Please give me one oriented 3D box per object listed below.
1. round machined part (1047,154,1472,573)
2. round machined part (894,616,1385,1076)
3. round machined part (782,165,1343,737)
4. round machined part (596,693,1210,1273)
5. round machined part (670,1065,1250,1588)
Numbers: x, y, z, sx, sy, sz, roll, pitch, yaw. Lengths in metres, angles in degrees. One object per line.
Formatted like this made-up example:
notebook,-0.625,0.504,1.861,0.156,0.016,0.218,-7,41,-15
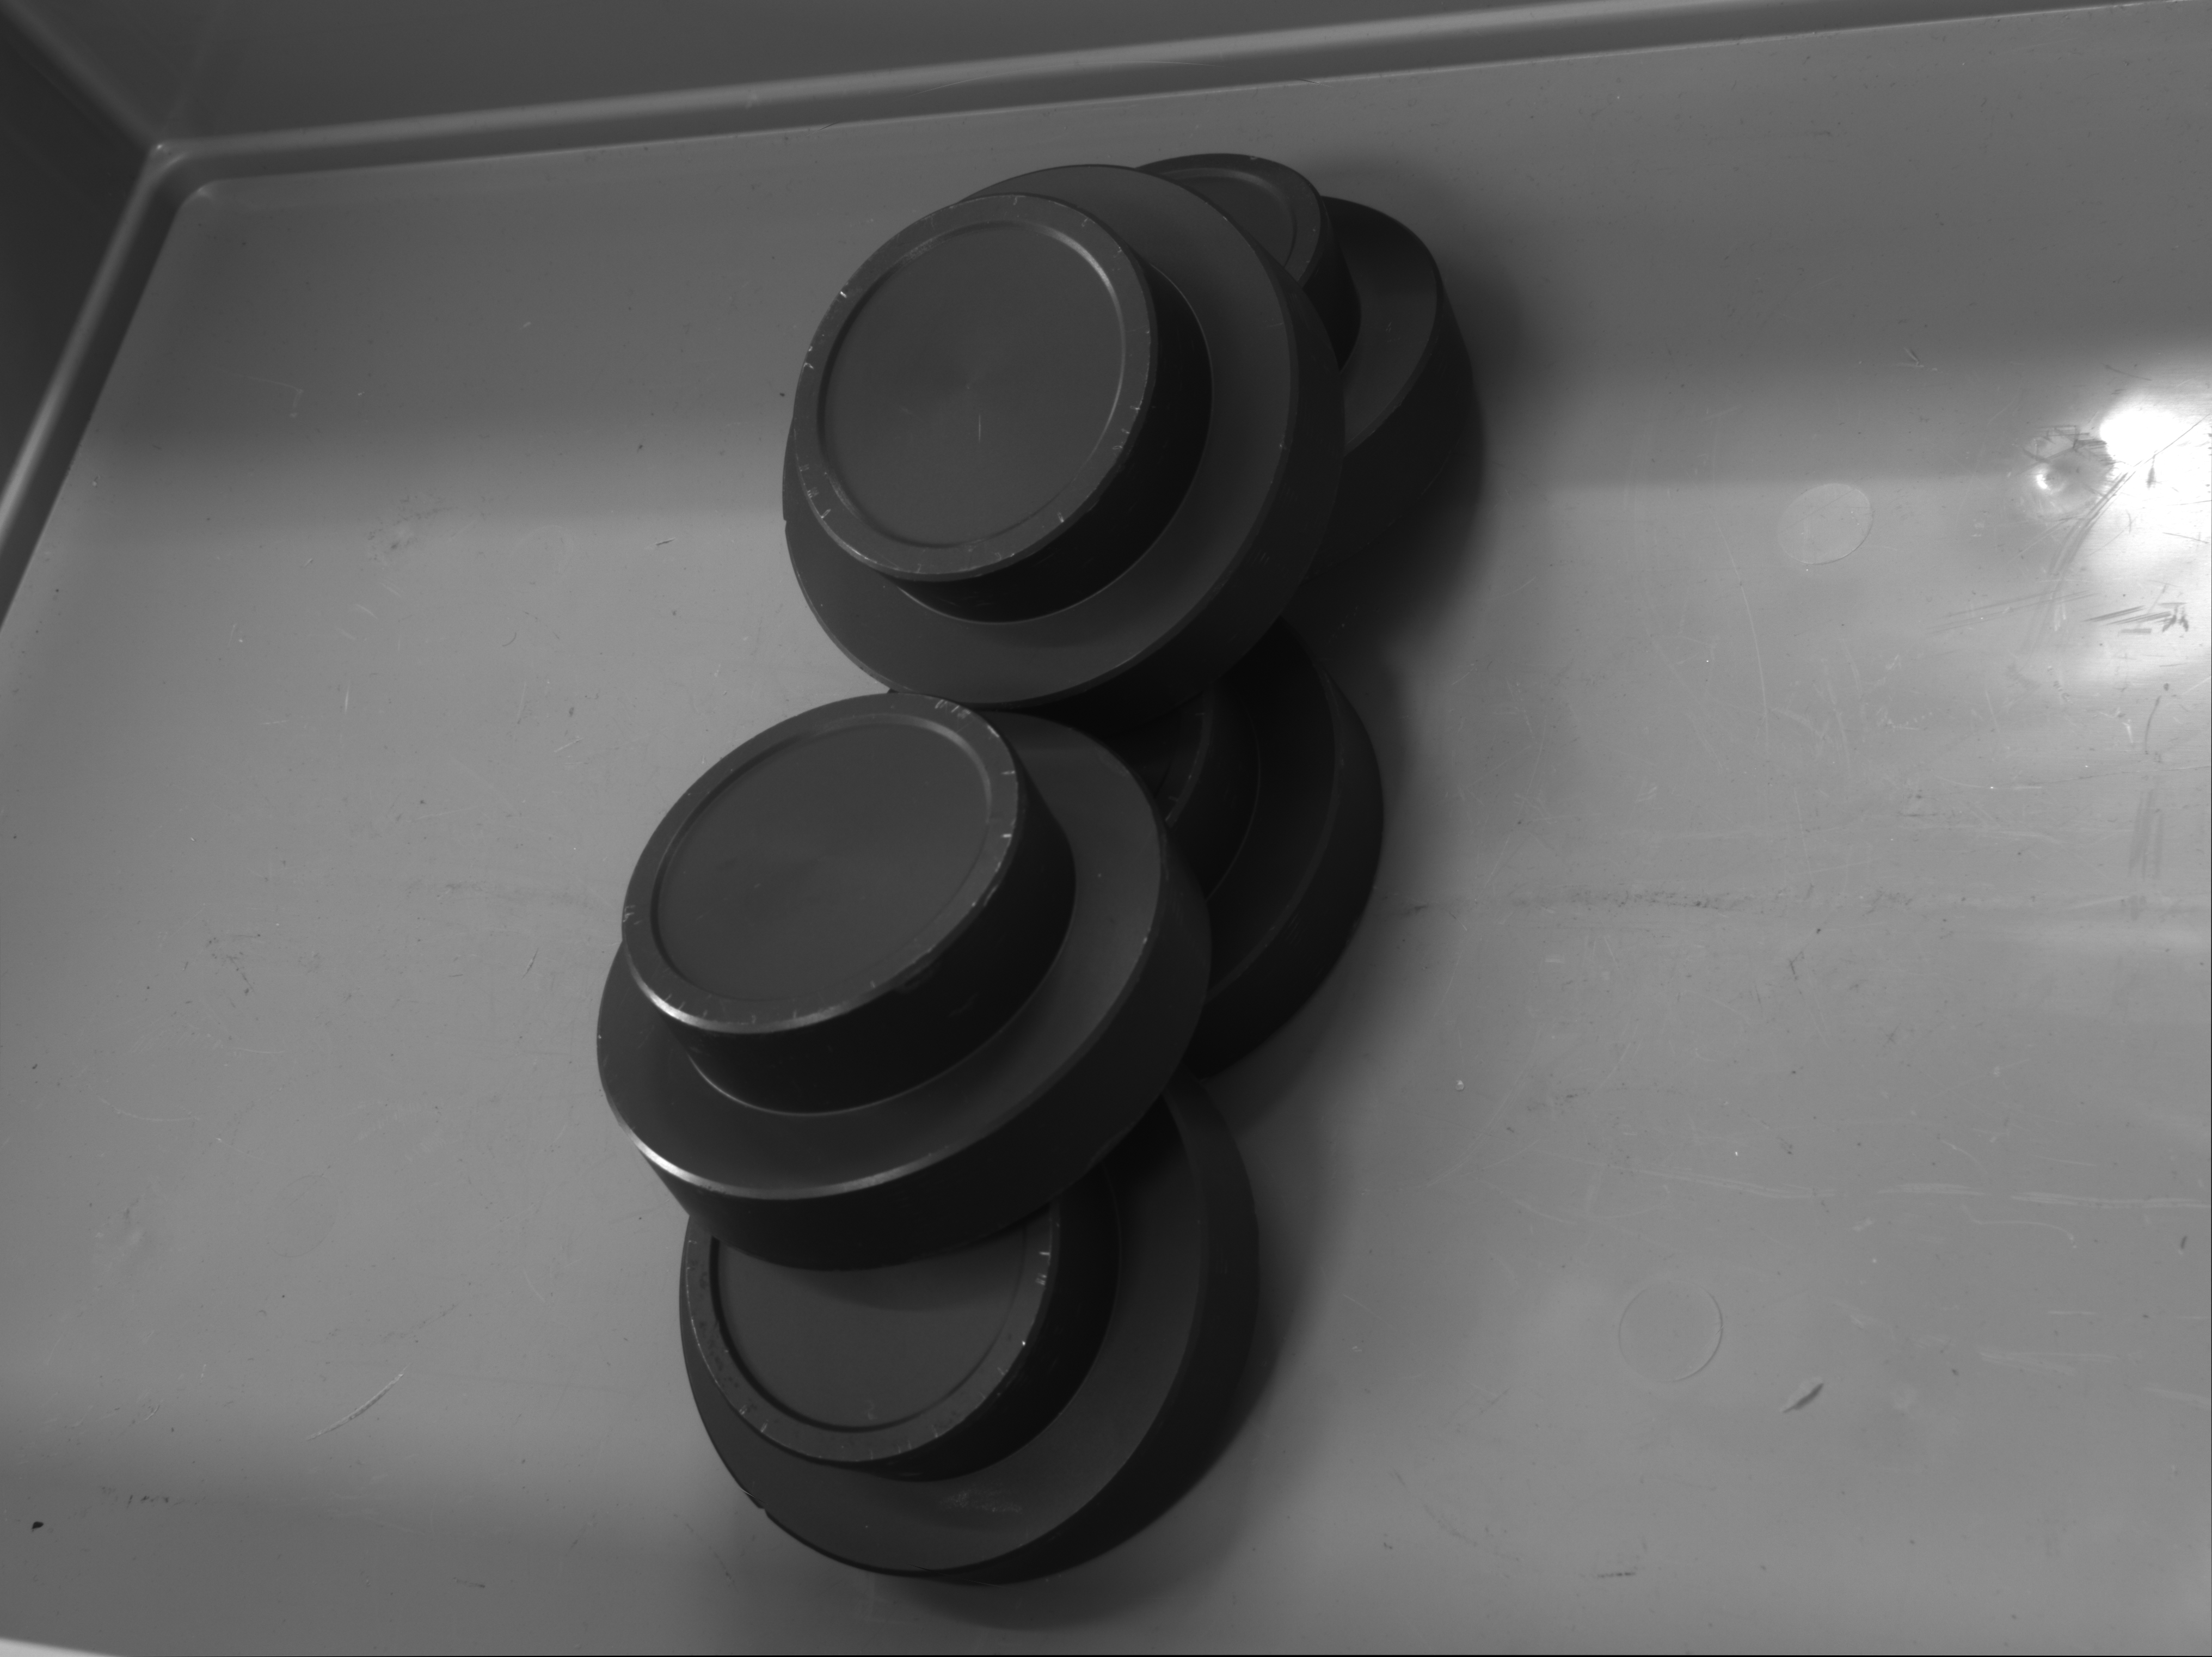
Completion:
round machined part,0.014,-0.085,0.664,0.098,0.042,0.098,-15,40,13
round machined part,-0.005,-0.004,0.637,0.098,0.042,0.098,-14,55,20
round machined part,-0.013,-0.067,0.614,0.098,0.042,0.098,-9,70,26
round machined part,-0.037,0.017,0.575,0.098,0.042,0.098,-15,45,15
round machined part,-0.030,0.070,0.587,0.098,0.042,0.098,-8,73,27
